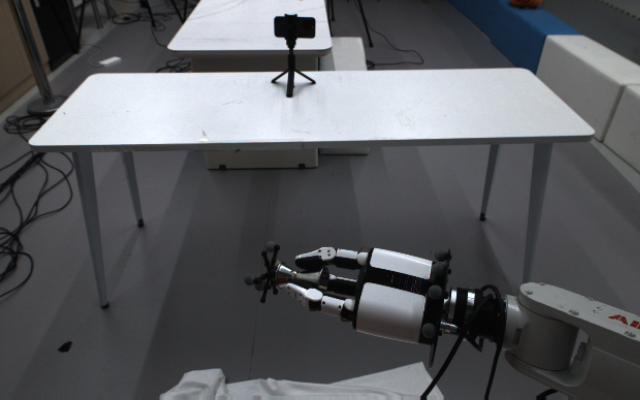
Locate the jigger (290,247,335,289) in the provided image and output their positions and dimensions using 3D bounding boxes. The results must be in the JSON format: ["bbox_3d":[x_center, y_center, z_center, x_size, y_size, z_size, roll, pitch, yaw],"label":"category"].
[{"bbox_3d":[-0.018,0.106,0.697,0.071,0.043,0.043,5,34,20],"label":"jigger"}]
